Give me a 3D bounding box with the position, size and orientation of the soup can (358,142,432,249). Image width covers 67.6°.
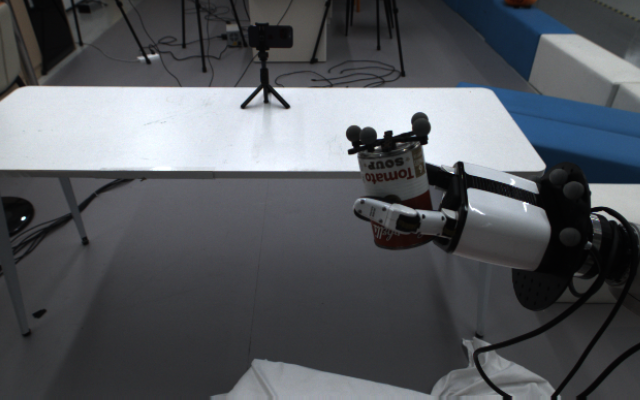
[{"bbox_3d":[0.083,-0.009,0.507,0.067,0.101,0.067,-12,17,4],"label":"soup can"}]
